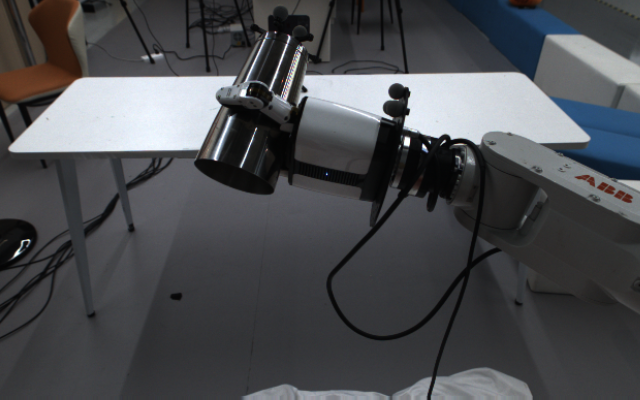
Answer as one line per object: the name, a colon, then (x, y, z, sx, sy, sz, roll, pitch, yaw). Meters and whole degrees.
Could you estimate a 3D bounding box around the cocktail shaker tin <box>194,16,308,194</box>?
cocktail shaker tin: (-0.069, -0.101, 0.552, 0.093, 0.093, 0.170, 14, 74, 16)
